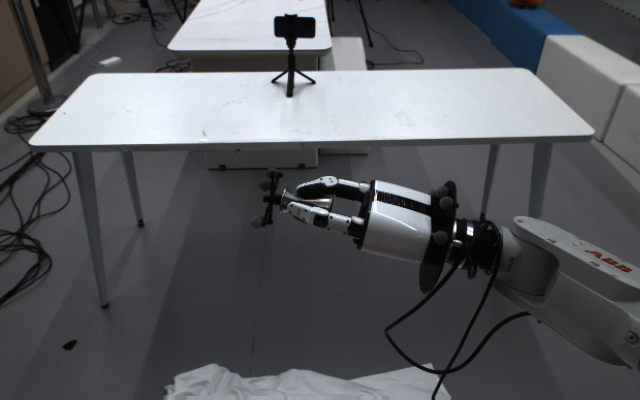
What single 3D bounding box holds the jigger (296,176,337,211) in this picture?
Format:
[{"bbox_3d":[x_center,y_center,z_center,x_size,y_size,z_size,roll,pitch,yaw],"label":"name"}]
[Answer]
[{"bbox_3d":[-0.012,0.006,0.675,0.071,0.043,0.043,12,36,5],"label":"jigger"}]
